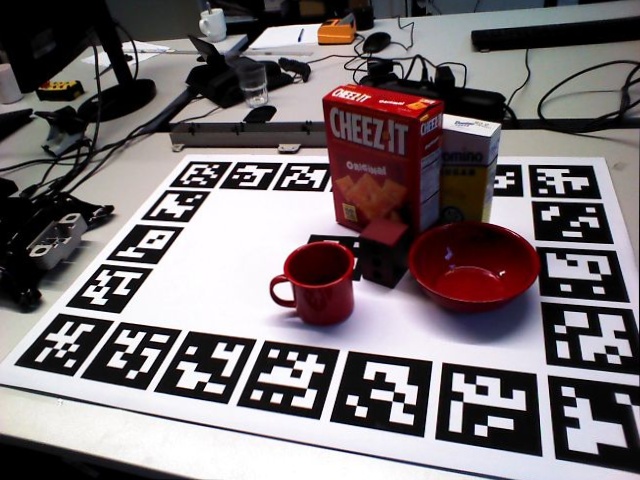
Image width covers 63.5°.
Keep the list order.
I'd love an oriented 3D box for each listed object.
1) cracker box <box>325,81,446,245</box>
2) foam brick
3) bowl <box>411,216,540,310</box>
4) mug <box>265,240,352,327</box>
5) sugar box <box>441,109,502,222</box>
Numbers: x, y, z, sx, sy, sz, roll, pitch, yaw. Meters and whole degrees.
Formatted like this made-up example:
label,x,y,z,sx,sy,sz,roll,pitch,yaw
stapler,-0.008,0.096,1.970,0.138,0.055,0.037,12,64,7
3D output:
label,x,y,z,sx,sy,sz,roll,pitch,yaw
cracker box,0.093,-0.105,0.754,0.071,0.214,0.165,-34,44,-31
foam brick,0.091,0.014,0.718,0.053,0.078,0.051,14,43,30
bowl,0.199,0.037,0.655,0.162,0.055,0.161,-7,38,5
mug,-0.014,0.058,0.669,0.118,0.081,0.092,-4,29,12
sugar box,0.205,-0.093,0.740,0.093,0.177,0.045,19,46,34
